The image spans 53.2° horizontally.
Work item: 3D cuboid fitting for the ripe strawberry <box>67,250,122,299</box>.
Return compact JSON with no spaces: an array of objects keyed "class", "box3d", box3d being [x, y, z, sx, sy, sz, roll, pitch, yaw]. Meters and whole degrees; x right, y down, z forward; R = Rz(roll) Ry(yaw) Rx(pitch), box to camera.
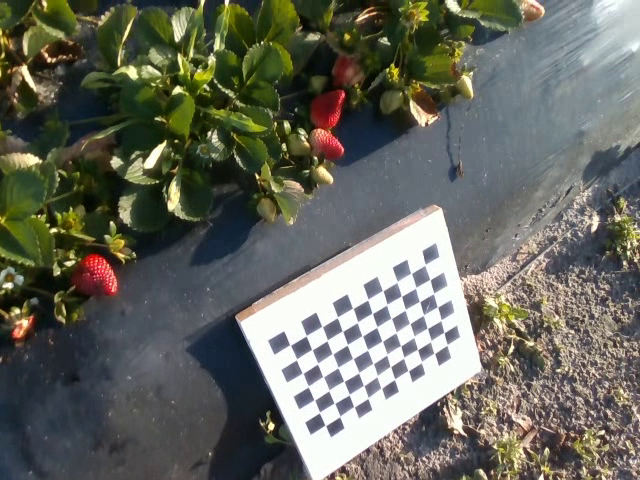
[{"class":"ripe strawberry","box3d":[-0.234,0.044,0.673,0.051,0.052,0.041,33,-2,26]}]
